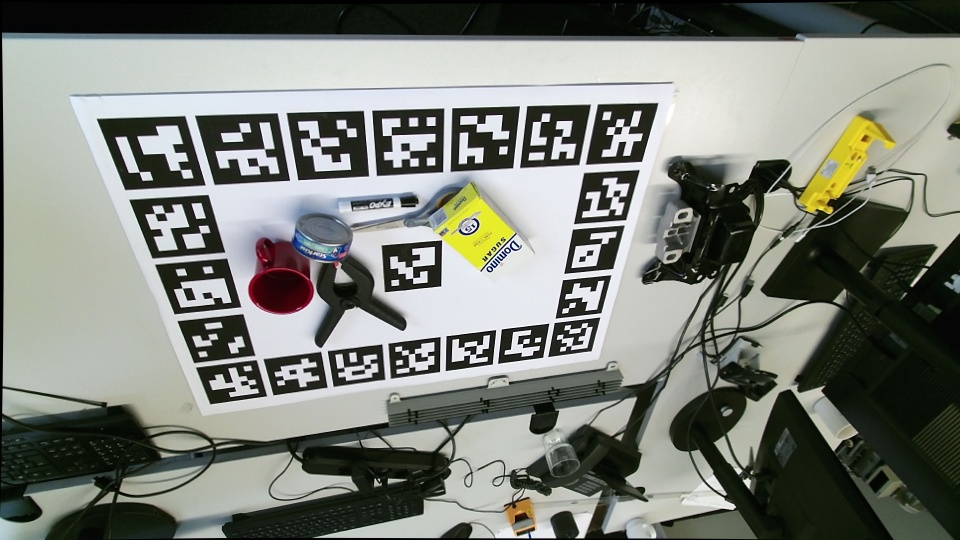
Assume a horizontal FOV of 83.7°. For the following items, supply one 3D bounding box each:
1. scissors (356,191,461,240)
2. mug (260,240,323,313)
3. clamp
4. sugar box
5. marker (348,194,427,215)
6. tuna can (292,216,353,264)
[{"bbox_3d":[-0.100,-0.073,0.871,0.203,0.016,0.088,-14,131,-4],"label":"scissors"},{"bbox_3d":[-0.298,-0.001,0.833,0.093,0.081,0.117,-28,131,4],"label":"mug"},{"bbox_3d":[-0.221,0.048,0.928,0.166,0.036,0.203,-14,127,-6],"label":"clamp"},{"bbox_3d":[0.007,-0.056,0.894,0.093,0.045,0.177,-35,133,10],"label":"sugar box"},{"bbox_3d":[-0.144,-0.104,0.839,0.121,0.019,0.019,-9,126,-11],"label":"marker"},{"bbox_3d":[-0.237,-0.047,0.811,0.086,0.085,0.034,9,122,-22],"label":"tuna can"}]
